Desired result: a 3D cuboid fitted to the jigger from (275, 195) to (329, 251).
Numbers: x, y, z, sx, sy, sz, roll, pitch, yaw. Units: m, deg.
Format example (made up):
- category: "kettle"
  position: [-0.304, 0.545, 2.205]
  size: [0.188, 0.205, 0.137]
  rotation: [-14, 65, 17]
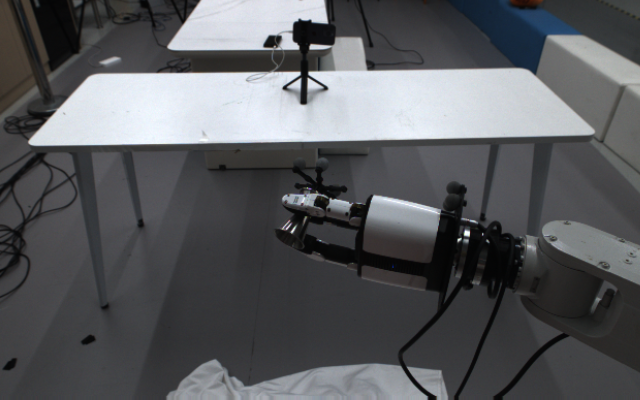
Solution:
- category: "jigger"
  position: [-0.025, 0.019, 0.614]
  size: [0.043, 0.043, 0.071]
  rotation: [19, 61, 23]
